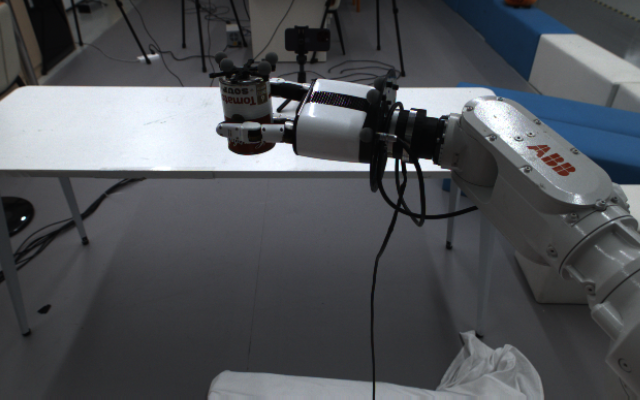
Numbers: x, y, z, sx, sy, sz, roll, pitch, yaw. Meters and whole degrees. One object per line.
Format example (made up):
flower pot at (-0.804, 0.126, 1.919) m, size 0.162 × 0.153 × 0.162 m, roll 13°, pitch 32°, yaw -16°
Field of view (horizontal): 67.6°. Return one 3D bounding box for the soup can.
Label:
soup can at (-0.098, -0.121, 0.661) m, size 0.067 × 0.101 × 0.067 m, roll -2°, pitch 33°, yaw 1°
